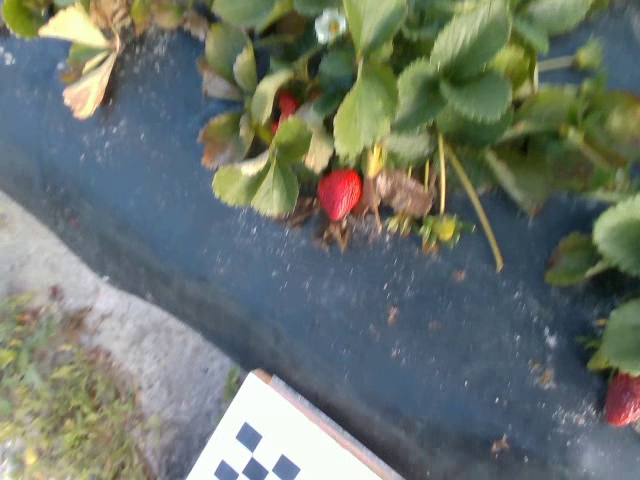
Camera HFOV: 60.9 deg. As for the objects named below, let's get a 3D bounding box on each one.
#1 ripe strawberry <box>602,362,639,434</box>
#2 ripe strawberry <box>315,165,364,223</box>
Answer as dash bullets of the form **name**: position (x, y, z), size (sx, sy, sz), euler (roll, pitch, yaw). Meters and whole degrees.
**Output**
- **ripe strawberry**: position (0.146, 0.078, 0.257), size (0.029, 0.036, 0.021), euler (36, 3, 21)
- **ripe strawberry**: position (0.010, -0.024, 0.300), size (0.031, 0.030, 0.026), euler (-5, -22, 19)
